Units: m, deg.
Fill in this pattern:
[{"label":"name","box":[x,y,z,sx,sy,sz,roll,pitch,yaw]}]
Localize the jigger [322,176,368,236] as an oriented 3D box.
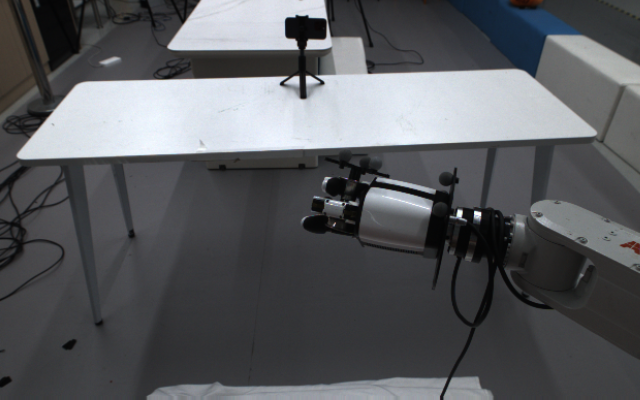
[{"label":"jigger","box":[0.036,0.006,0.645,0.043,0.071,0.043,17,2,-1]}]
